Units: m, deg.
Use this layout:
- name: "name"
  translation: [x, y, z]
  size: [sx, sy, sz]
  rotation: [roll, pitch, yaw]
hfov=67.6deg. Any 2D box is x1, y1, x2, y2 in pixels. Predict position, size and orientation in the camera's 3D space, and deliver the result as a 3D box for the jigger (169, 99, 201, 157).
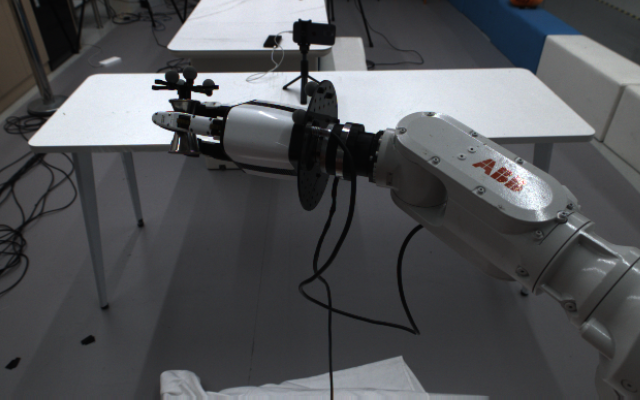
- name: "jigger"
  translation: [-0.175, -0.095, 0.632]
  size: [0.043, 0.071, 0.043]
  rotation: [0, 3, 0]
